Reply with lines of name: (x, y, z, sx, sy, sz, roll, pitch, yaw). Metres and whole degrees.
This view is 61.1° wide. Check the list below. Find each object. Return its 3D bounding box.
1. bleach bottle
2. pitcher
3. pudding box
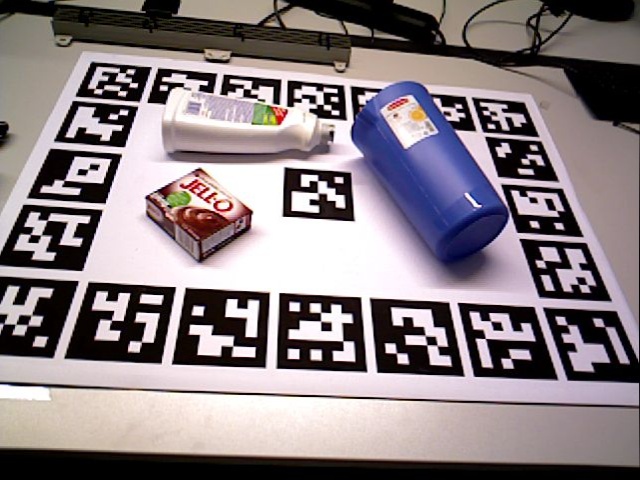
bleach bottle: (-0.098, -0.170, 0.804, 0.248, 0.069, 0.101, 3, 55, -9)
pitcher: (0.162, -0.078, 0.748, 0.186, 0.136, 0.241, 10, 45, -48)
pudding box: (-0.155, -0.037, 0.697, 0.113, 0.039, 0.088, 42, 51, 21)
